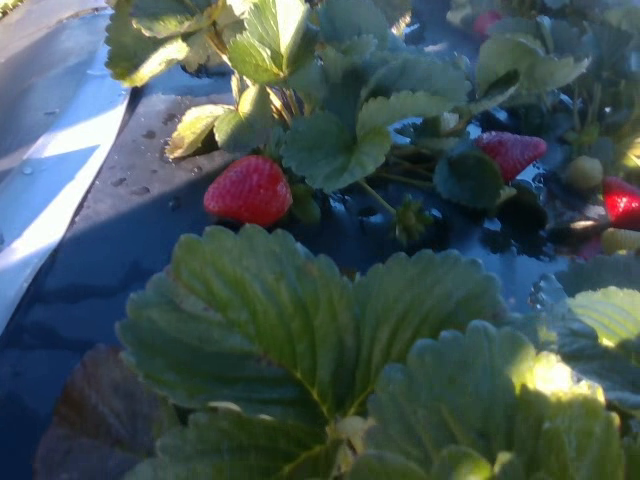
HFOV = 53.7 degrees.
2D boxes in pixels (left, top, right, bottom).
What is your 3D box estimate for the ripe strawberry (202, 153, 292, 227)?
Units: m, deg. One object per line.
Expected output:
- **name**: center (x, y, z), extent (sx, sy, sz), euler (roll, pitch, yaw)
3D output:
- **ripe strawberry**: center (-0.040, -0.024, 0.320), extent (0.045, 0.042, 0.058), euler (0, 25, 48)
